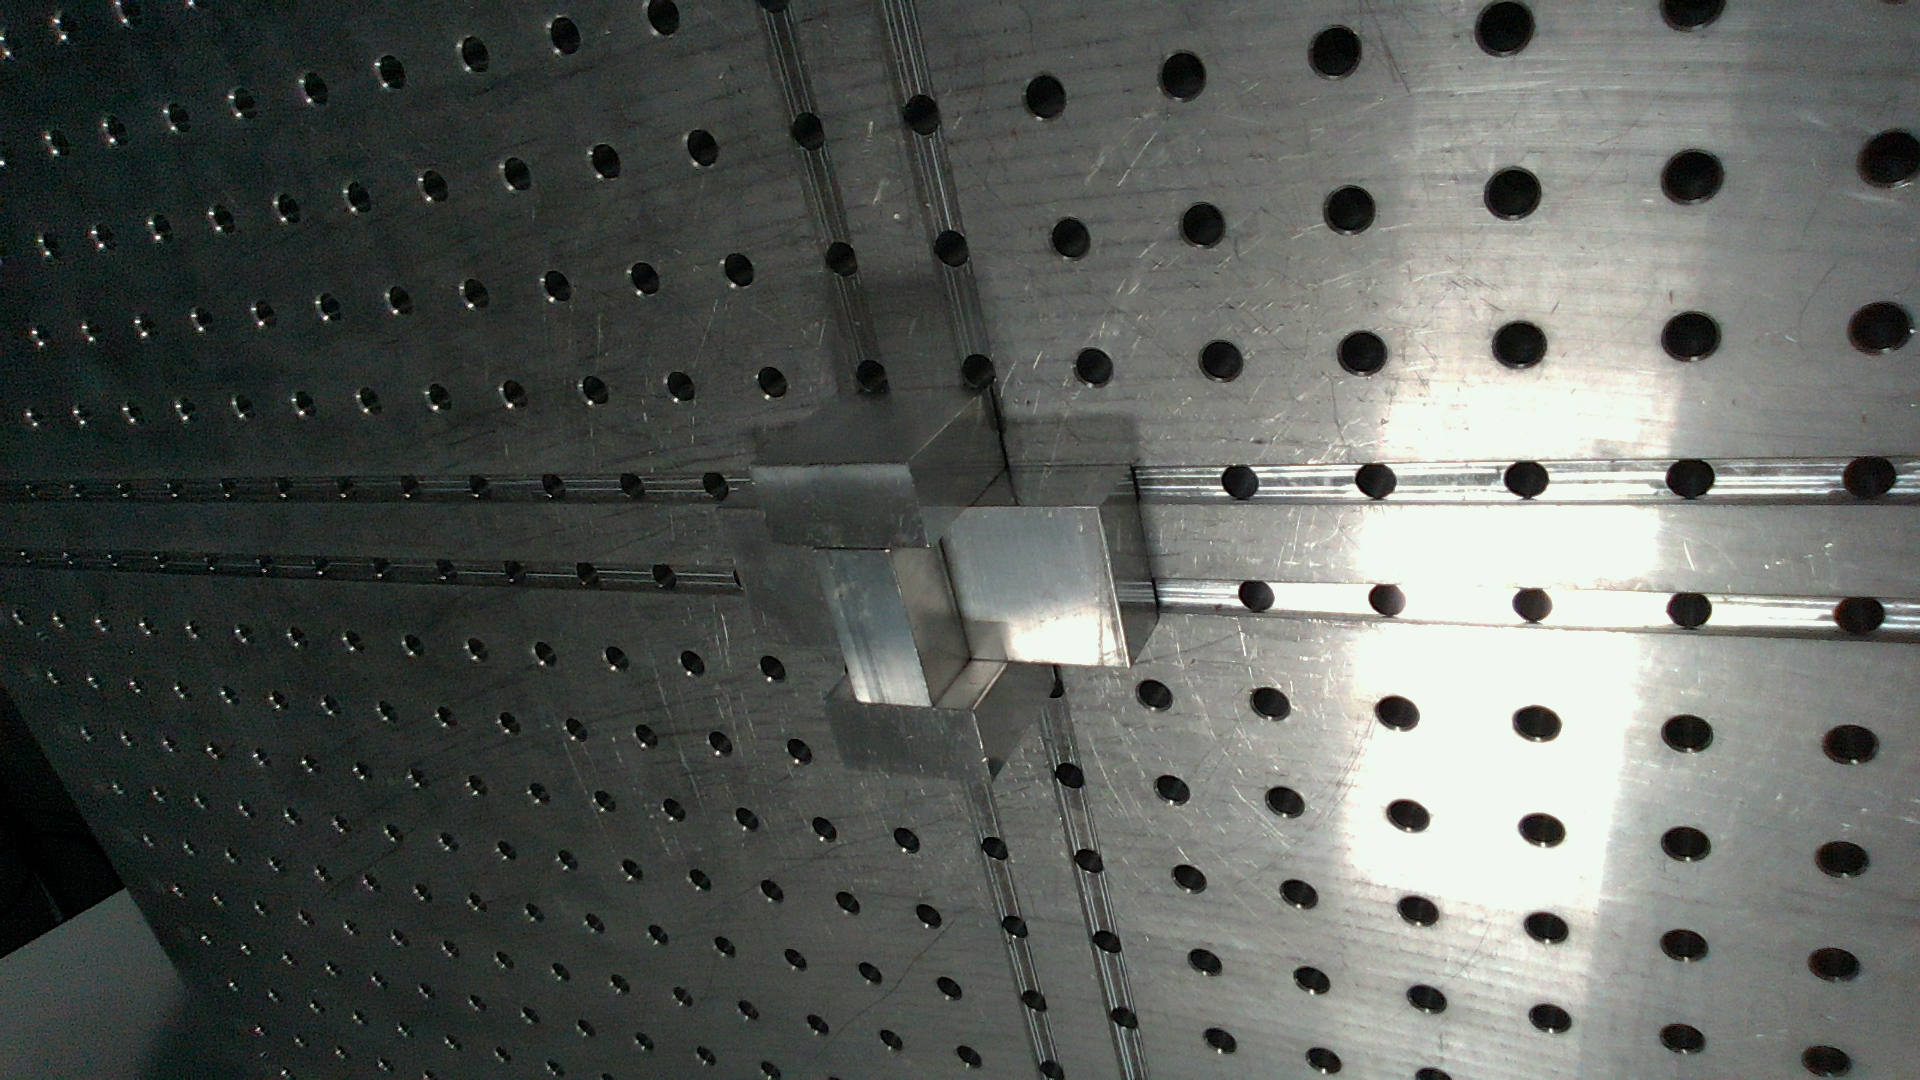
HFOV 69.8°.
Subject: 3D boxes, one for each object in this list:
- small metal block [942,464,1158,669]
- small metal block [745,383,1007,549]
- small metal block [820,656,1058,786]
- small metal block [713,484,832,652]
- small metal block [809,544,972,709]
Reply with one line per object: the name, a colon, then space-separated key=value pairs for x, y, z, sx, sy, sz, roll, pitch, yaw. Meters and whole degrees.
small metal block: x=0.025 y=0.007 z=0.387 sx=0.050 sy=0.025 sz=0.050 roll=1 pitch=119 yaw=28
small metal block: x=-0.022 y=-0.021 z=0.378 sx=0.050 sy=0.050 sz=0.025 roll=1 pitch=119 yaw=28
small metal block: x=-0.005 y=0.046 z=0.410 sx=0.050 sy=0.050 sz=0.025 roll=1 pitch=119 yaw=28
small metal block: x=-0.041 y=0.007 z=0.422 sx=0.050 sy=0.025 sz=0.050 roll=0 pitch=119 yaw=28
small metal block: x=-0.014 y=0.013 z=0.394 sx=0.025 sy=0.050 sz=0.050 roll=1 pitch=119 yaw=28
